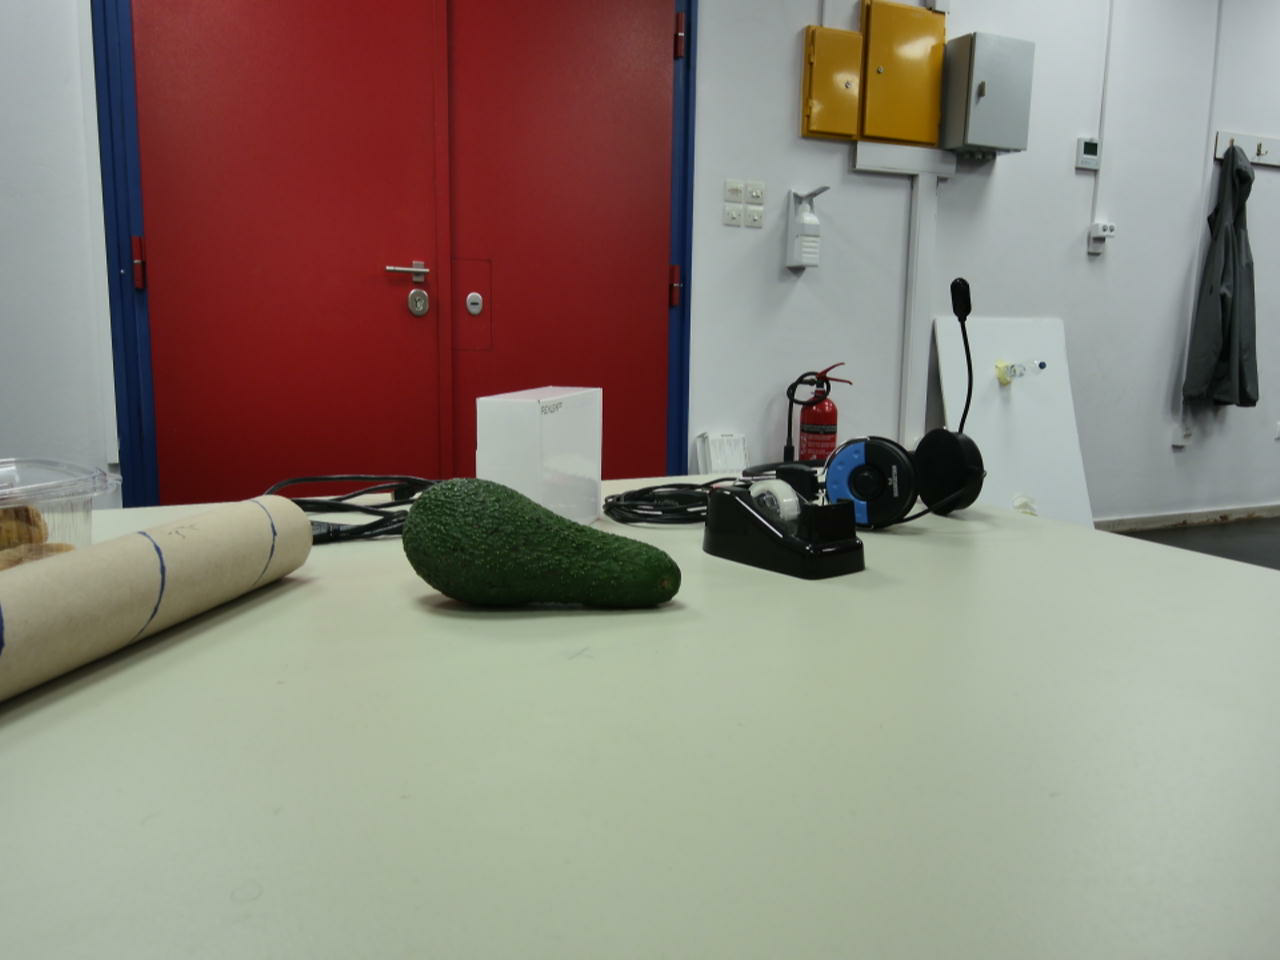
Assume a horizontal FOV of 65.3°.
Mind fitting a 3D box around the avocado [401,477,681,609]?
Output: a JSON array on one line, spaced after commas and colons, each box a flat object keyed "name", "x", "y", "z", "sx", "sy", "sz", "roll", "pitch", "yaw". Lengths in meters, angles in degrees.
[{"name": "avocado", "x": -0.050, "y": 0.031, "z": 0.515, "sx": 0.141, "sy": 0.067, "sz": 0.063, "roll": -1, "pitch": 6, "yaw": -10}]
